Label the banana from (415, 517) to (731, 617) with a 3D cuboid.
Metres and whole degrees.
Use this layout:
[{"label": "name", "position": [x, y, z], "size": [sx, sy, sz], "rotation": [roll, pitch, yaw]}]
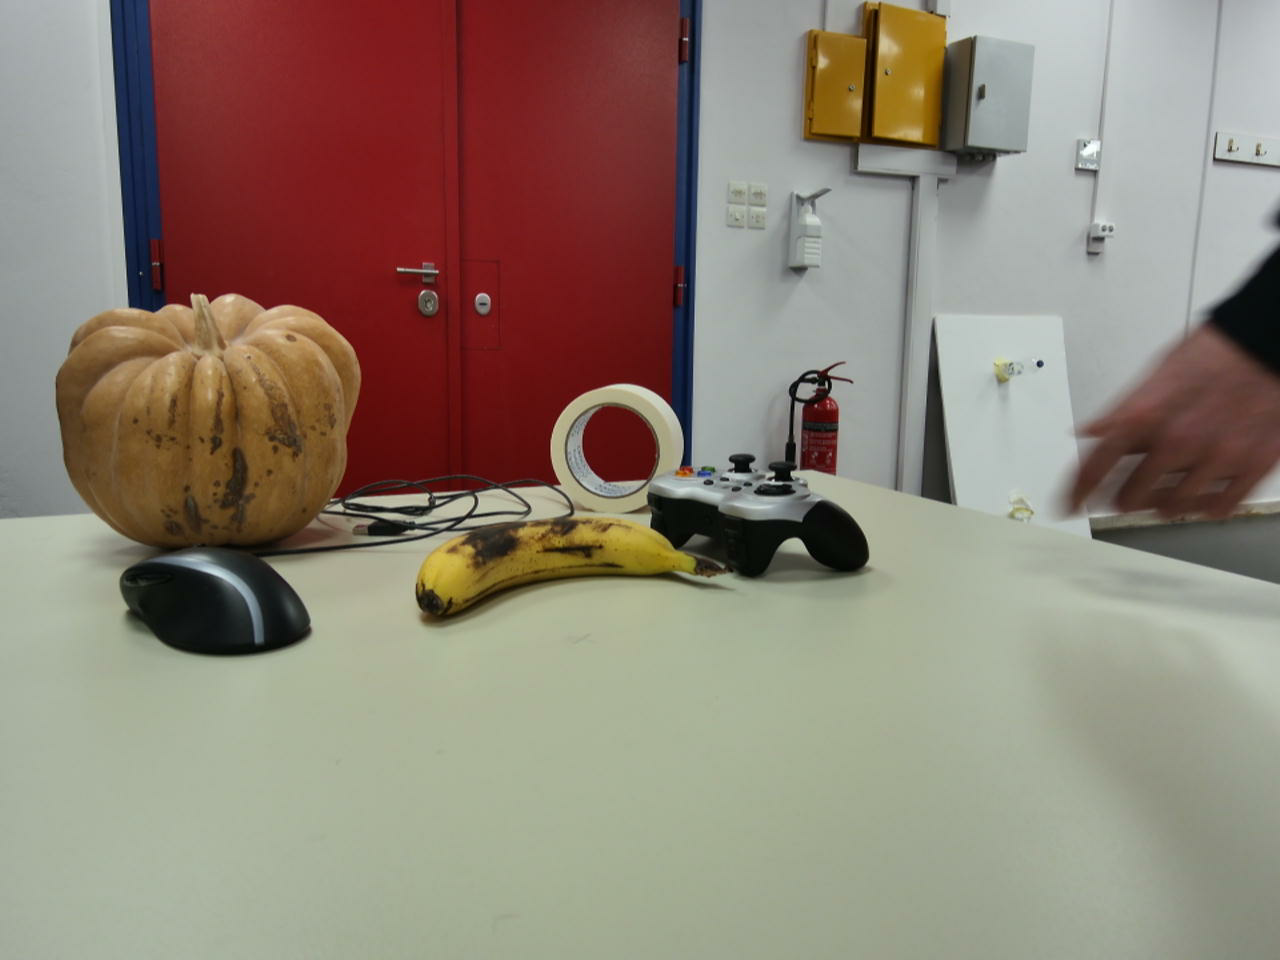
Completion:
[{"label": "banana", "position": [-0.051, 0.047, 0.597], "size": [0.187, 0.039, 0.094], "rotation": [-4, 8, -27]}]
